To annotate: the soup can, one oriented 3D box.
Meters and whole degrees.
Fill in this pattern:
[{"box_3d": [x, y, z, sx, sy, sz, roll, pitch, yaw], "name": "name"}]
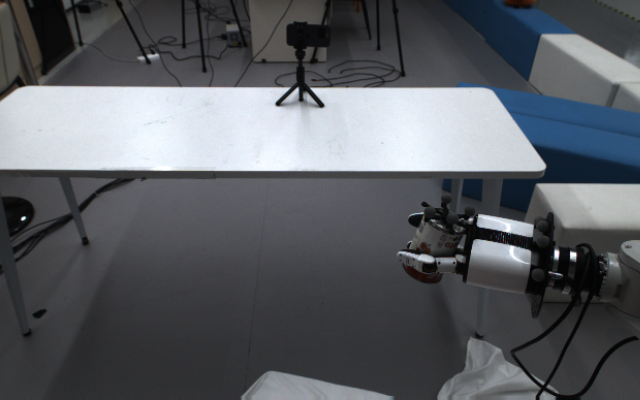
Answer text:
[{"box_3d": [0.178, 0.070, 0.758, 0.067, 0.101, 0.067, 13, 31, -8], "name": "soup can"}]
